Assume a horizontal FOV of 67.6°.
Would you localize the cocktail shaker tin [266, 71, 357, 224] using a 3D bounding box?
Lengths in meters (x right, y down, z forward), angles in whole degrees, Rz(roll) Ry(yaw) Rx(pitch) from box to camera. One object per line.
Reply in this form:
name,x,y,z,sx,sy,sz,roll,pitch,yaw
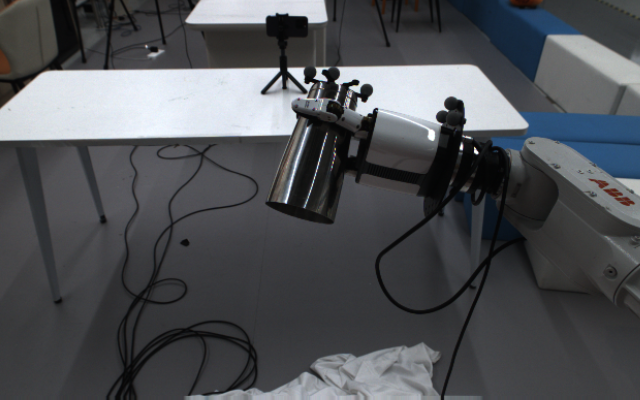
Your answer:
cocktail shaker tin,-0.001,-0.066,0.634,0.093,0.093,0.170,13,79,15
